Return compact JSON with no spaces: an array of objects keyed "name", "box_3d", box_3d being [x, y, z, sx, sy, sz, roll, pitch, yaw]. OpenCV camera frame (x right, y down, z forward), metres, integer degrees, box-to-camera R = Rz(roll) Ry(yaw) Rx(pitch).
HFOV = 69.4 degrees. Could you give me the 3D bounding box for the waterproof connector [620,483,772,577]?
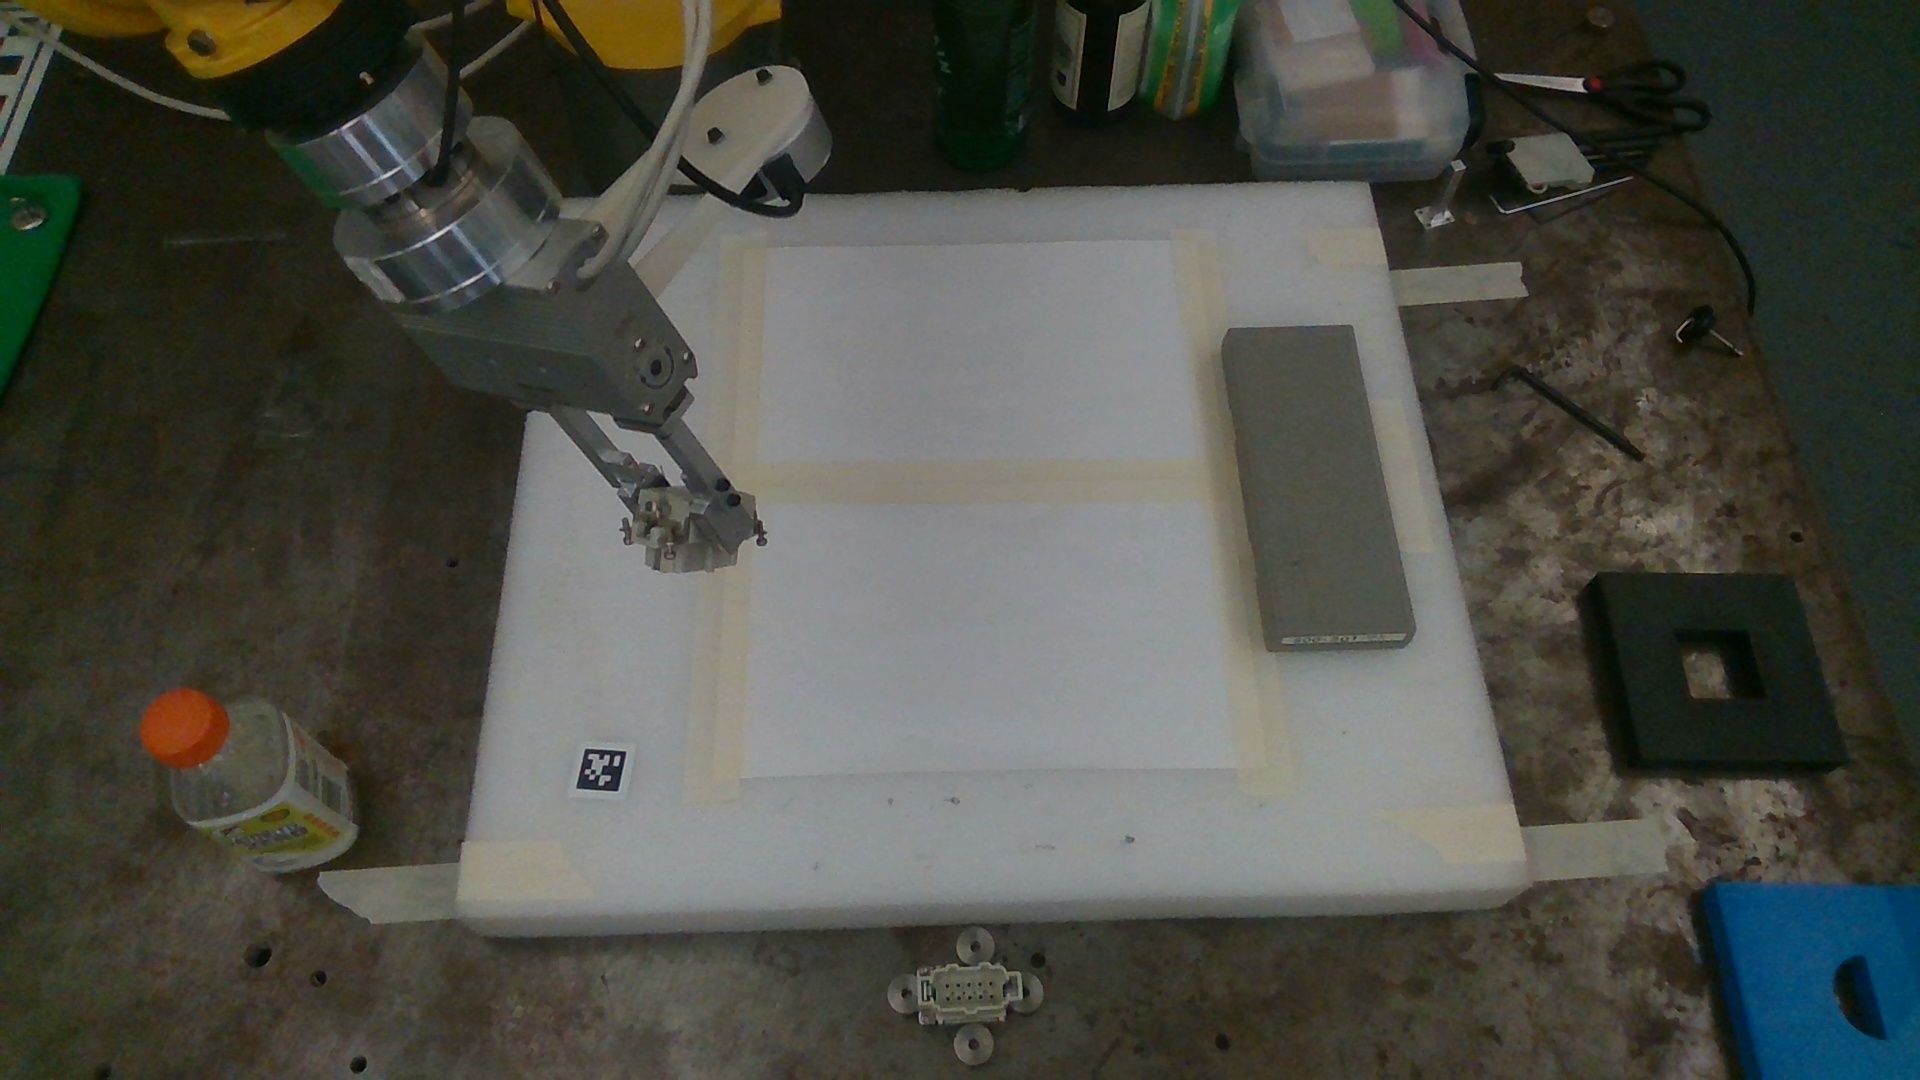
[{"name":"waterproof connector","box_3d":[-0.122,-0.005,0.650,0.037,0.069,0.038,14,103,37]}]
